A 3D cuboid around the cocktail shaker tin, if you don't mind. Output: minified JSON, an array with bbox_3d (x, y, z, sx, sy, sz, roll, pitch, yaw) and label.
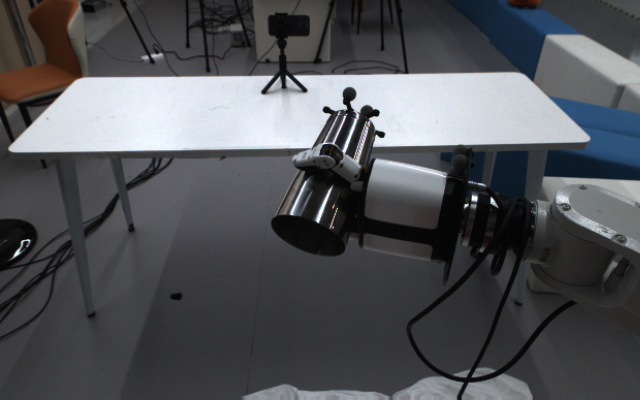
[{"bbox_3d":[0.013,-0.027,0.595,0.093,0.093,0.170,14,61,17],"label":"cocktail shaker tin"}]
